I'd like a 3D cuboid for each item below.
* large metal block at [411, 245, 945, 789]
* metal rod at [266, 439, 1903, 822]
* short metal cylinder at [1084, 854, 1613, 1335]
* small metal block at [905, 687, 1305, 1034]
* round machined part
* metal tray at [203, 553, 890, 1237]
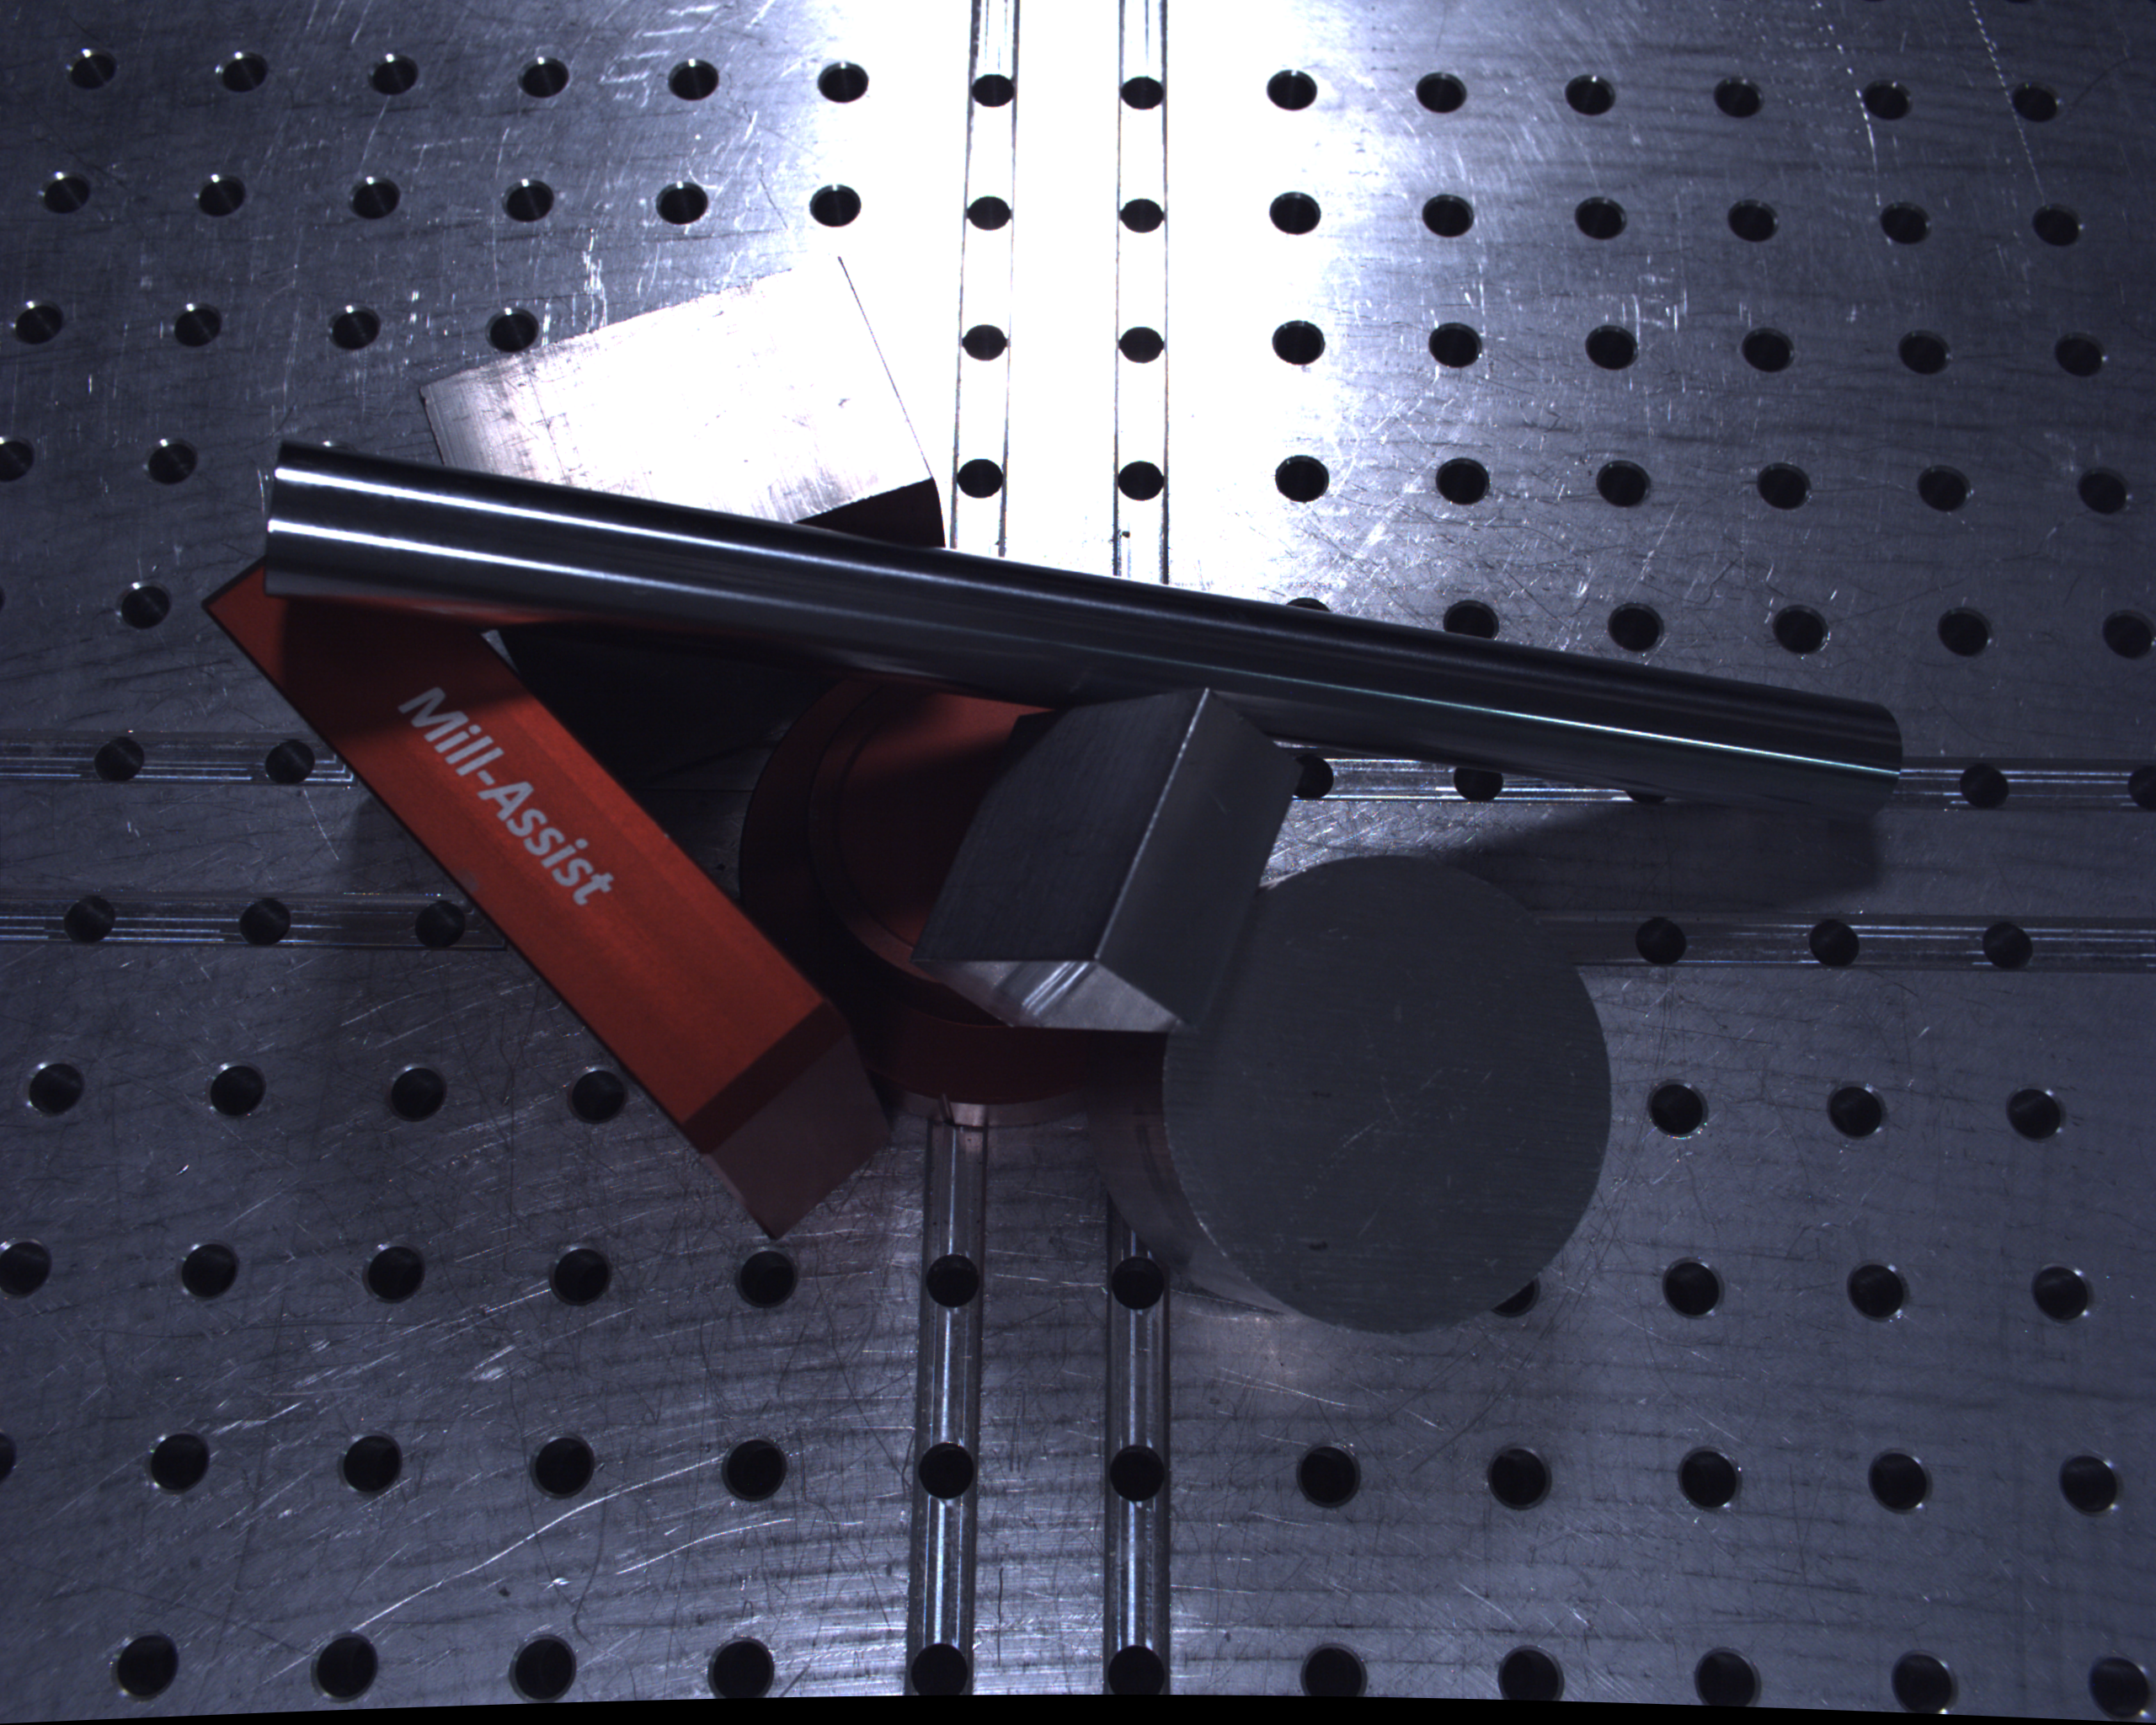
[{"bbox_3d":[-0.071,-0.063,0.403,0.080,0.080,0.050,-20,72,-7],"label":"large metal block"},{"bbox_3d":[0.017,-0.037,0.375,0.302,0.025,0.025,7,69,-19],"label":"metal rod"},{"bbox_3d":[0.046,0.041,0.371,0.081,0.050,0.080,2,83,-15],"label":"short metal cylinder"},{"bbox_3d":[0.004,0.001,0.352,0.025,0.050,0.050,37,66,-32],"label":"small metal block"},{"bbox_3d":[-0.016,0.000,0.405,0.099,0.042,0.098,0,70,-1],"label":"round machined part"},{"bbox_3d":[-0.091,0.004,0.374,0.030,0.090,0.130,-42,76,-14],"label":"metal tray"}]
